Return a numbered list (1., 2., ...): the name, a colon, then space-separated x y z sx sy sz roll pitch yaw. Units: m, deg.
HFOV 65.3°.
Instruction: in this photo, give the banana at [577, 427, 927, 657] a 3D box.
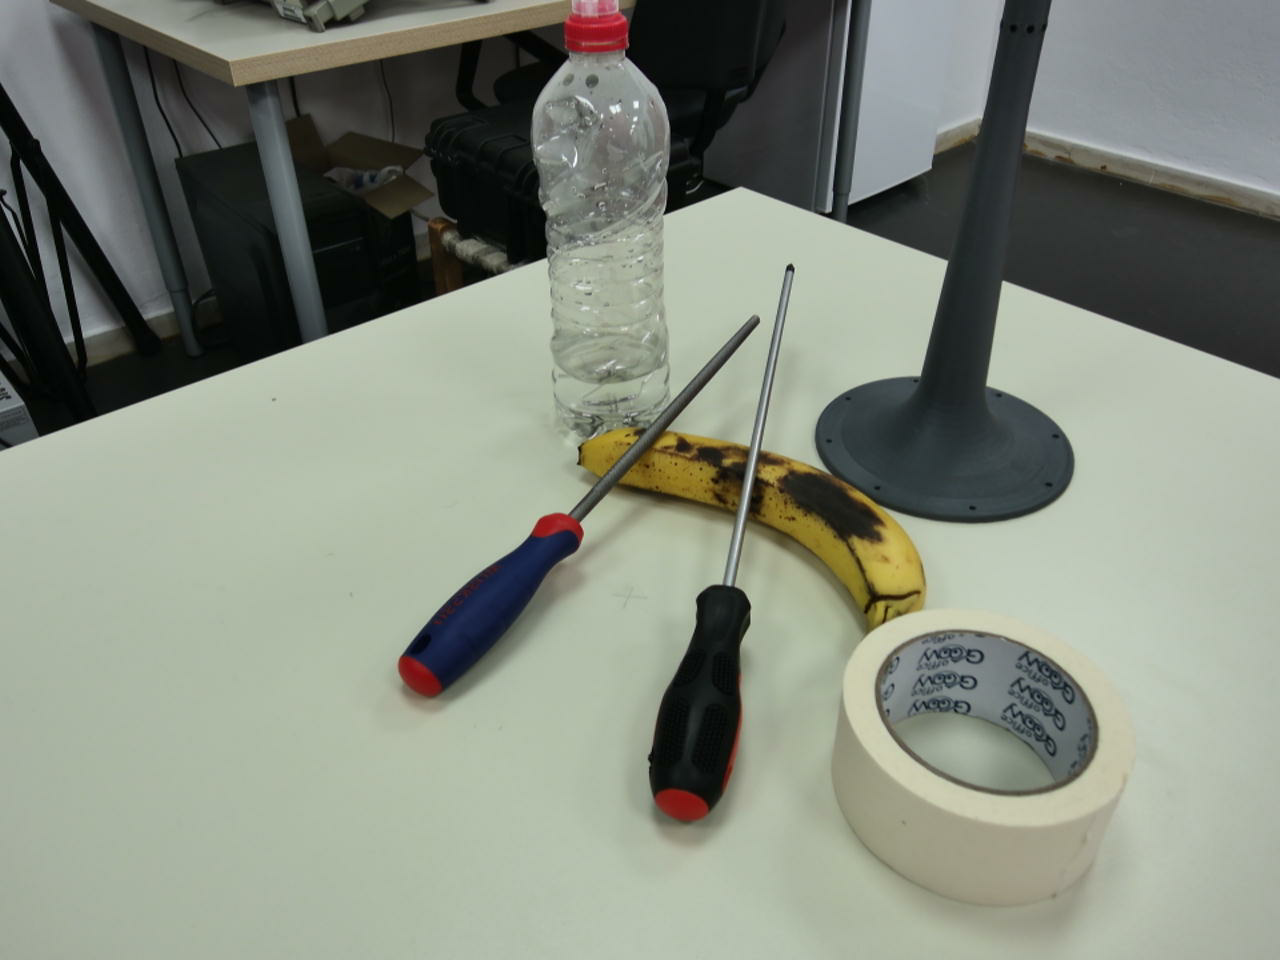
1. banana: 0.064 0.014 0.526 0.084 0.037 0.222 -27 43 -31
